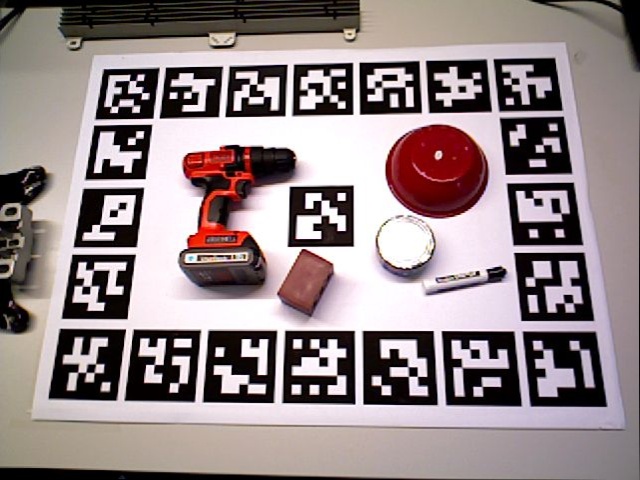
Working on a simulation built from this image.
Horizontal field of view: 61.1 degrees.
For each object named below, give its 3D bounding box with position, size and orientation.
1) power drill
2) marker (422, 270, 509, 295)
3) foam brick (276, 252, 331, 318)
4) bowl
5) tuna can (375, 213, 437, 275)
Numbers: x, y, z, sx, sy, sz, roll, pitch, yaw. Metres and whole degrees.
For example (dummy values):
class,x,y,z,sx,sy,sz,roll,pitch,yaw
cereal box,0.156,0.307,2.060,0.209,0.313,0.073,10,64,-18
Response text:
class,x,y,z,sx,sy,sz,roll,pitch,yaw
power drill,-0.136,-0.045,0.808,0.184,0.058,0.185,0,70,0
marker,0.206,0.059,0.766,0.120,0.020,0.019,-9,73,0
foam brick,-0.023,0.063,0.771,0.051,0.053,0.077,24,76,9
bowl,0.175,-0.115,0.817,0.161,0.056,0.160,-3,65,5
tuna can,0.122,0.007,0.782,0.085,0.034,0.085,-1,72,1
